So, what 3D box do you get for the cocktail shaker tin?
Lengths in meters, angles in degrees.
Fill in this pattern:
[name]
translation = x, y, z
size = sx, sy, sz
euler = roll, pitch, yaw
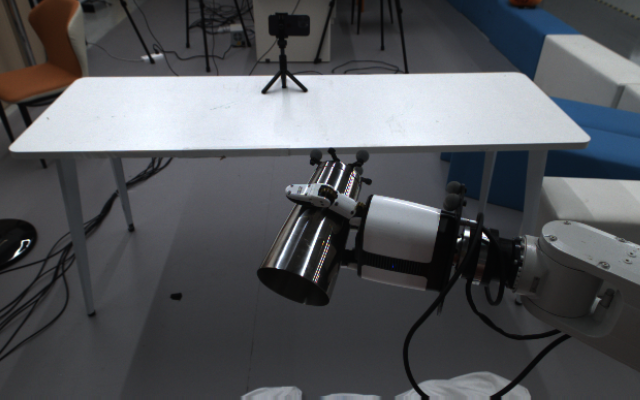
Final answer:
[cocktail shaker tin]
translation = -0.004, 0.035, 0.606
size = 0.093, 0.093, 0.170
euler = 14, 58, 16
